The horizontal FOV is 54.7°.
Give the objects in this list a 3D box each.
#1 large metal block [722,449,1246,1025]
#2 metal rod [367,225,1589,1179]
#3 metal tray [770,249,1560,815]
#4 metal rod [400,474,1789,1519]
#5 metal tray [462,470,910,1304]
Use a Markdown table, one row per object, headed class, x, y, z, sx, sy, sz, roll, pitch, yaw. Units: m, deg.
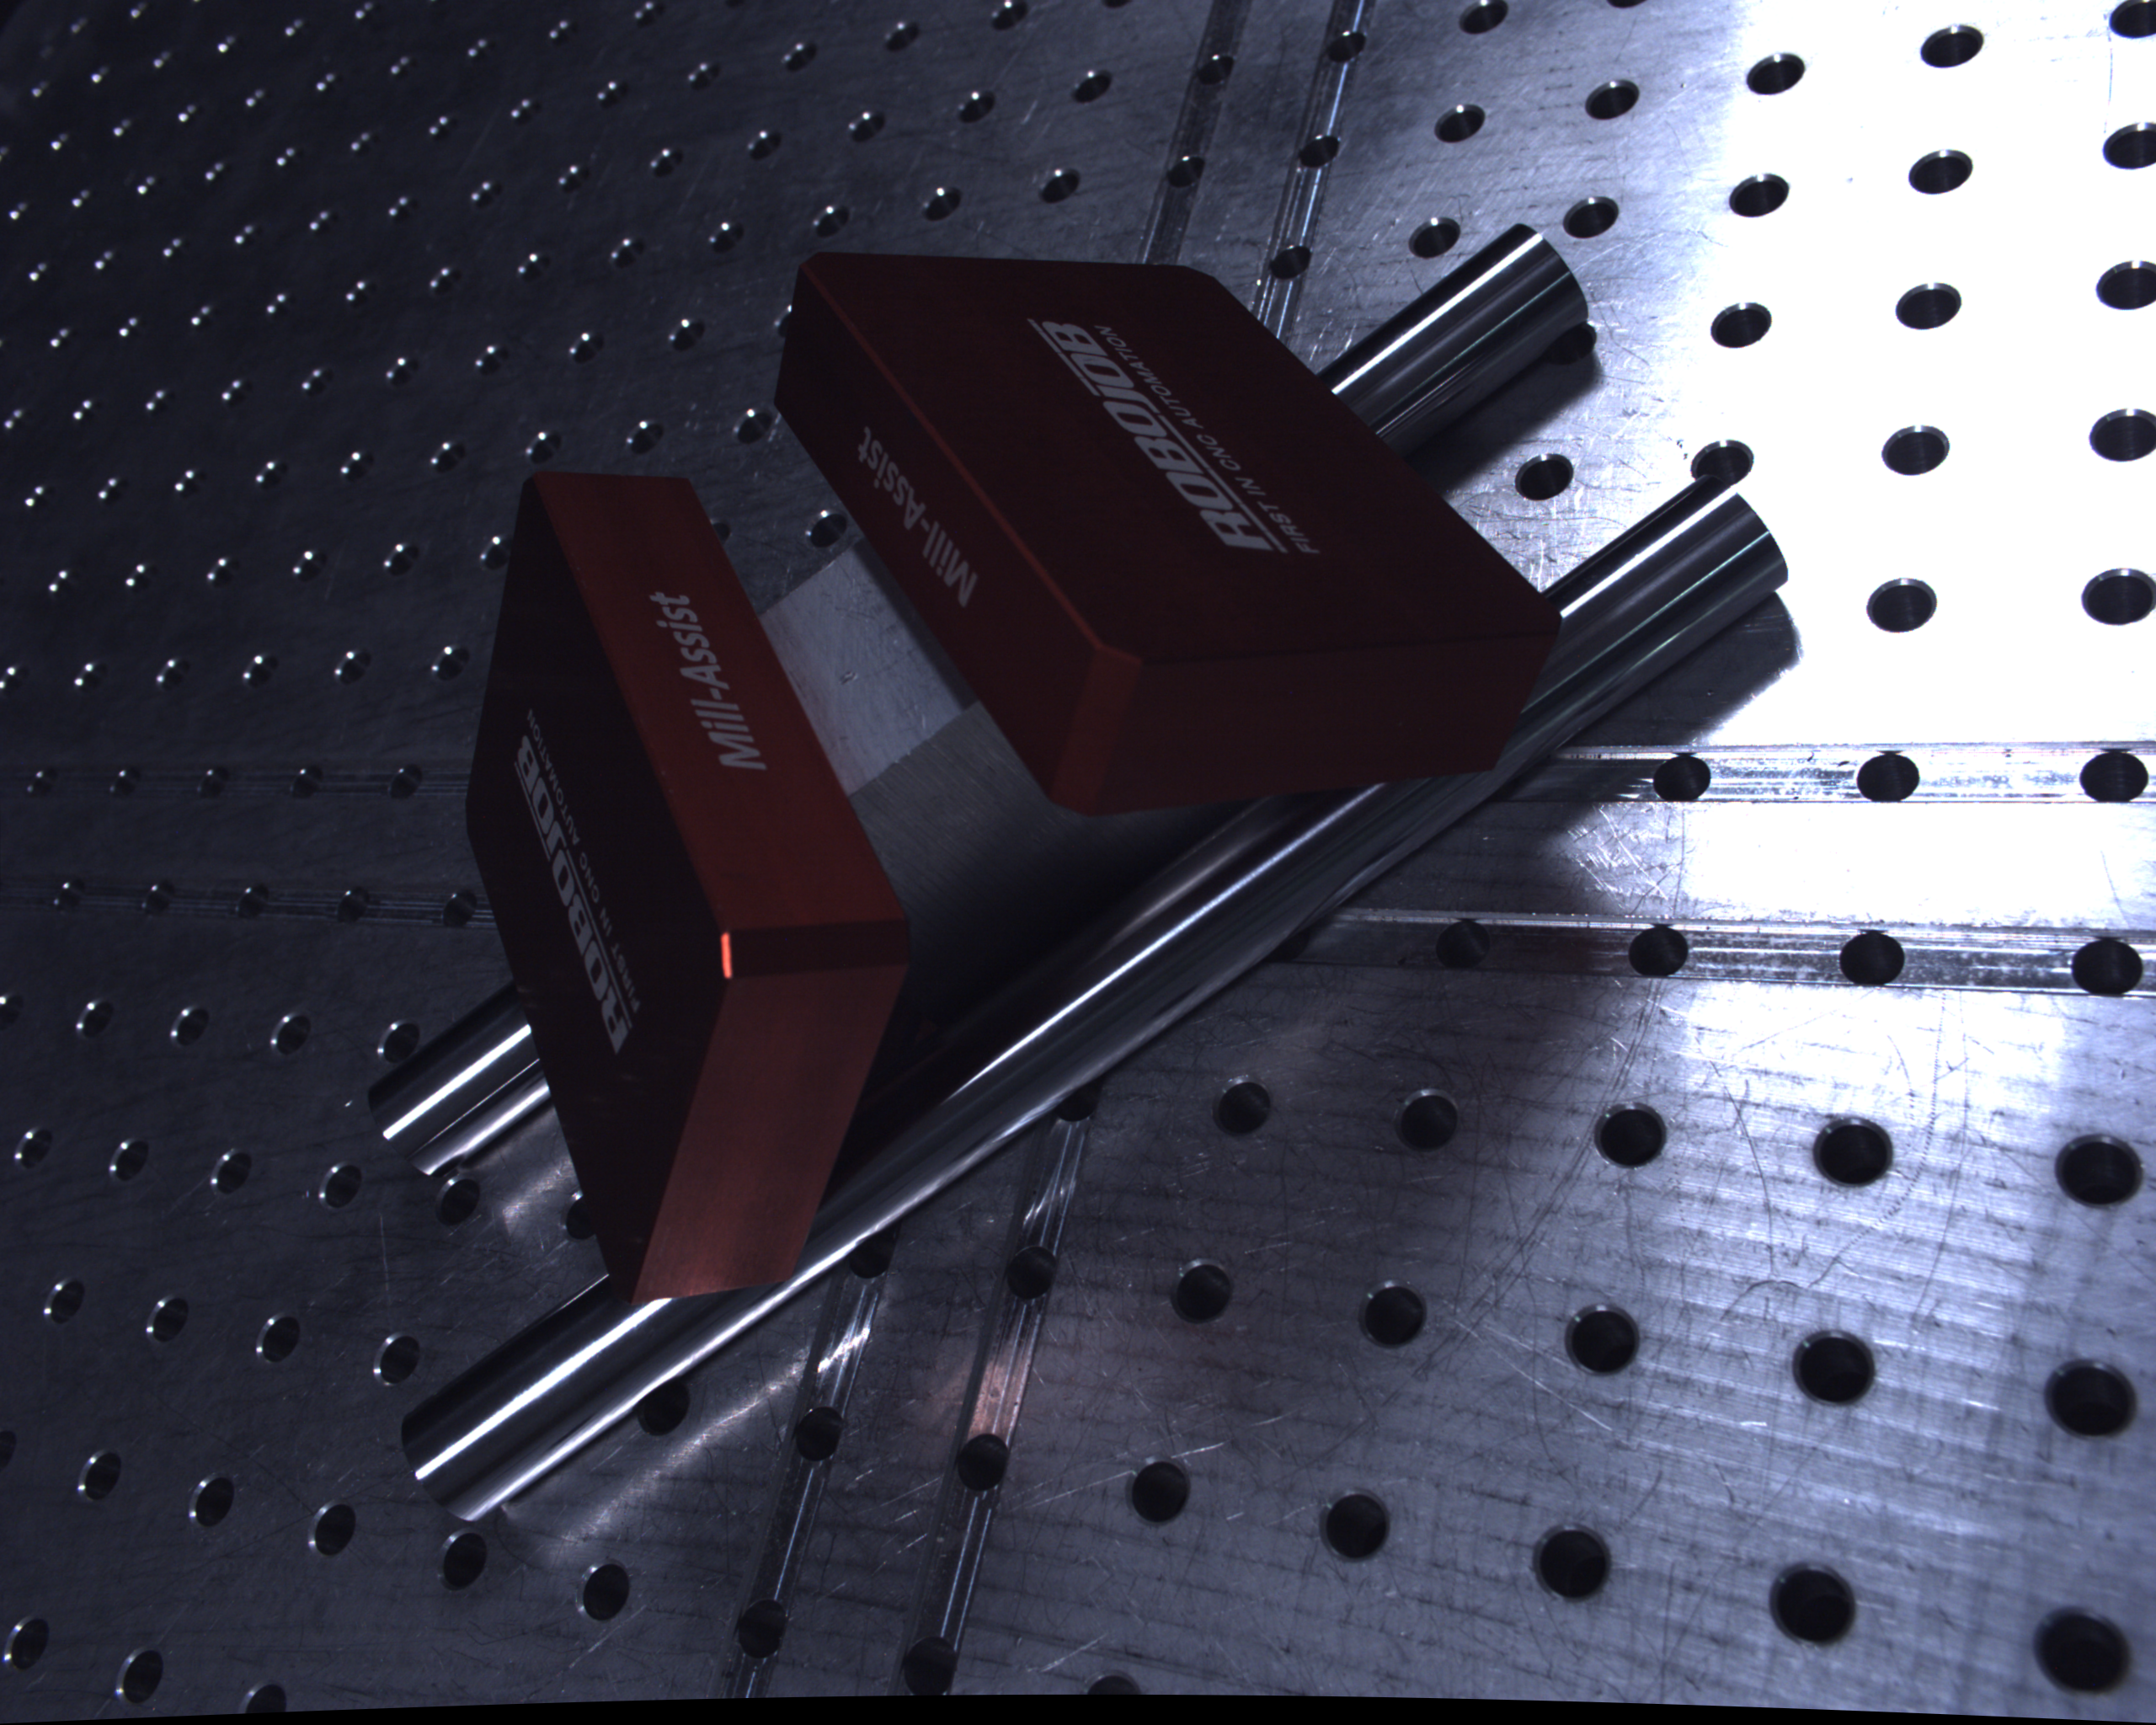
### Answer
| class | x | y | z | sx | sy | sz | roll | pitch | yaw |
| --- | --- | --- | --- | --- | --- | --- | --- | --- | --- |
| large metal block | -0.016 | -0.021 | 0.392 | 0.080 | 0.080 | 0.050 | -36 | 51 | 4 |
| metal rod | -0.023 | -0.032 | 0.438 | 0.300 | 0.025 | 0.025 | -37 | 51 | 3 |
| metal tray | 0.011 | -0.064 | 0.370 | 0.091 | 0.030 | 0.130 | -7 | 44 | -30 |
| metal rod | 0.000 | 0.027 | 0.391 | 0.300 | 0.025 | 0.025 | -36 | 51 | 4 |
| metal tray | -0.077 | 0.001 | 0.377 | 0.130 | 0.030 | 0.089 | 60 | 140 | 38 |
